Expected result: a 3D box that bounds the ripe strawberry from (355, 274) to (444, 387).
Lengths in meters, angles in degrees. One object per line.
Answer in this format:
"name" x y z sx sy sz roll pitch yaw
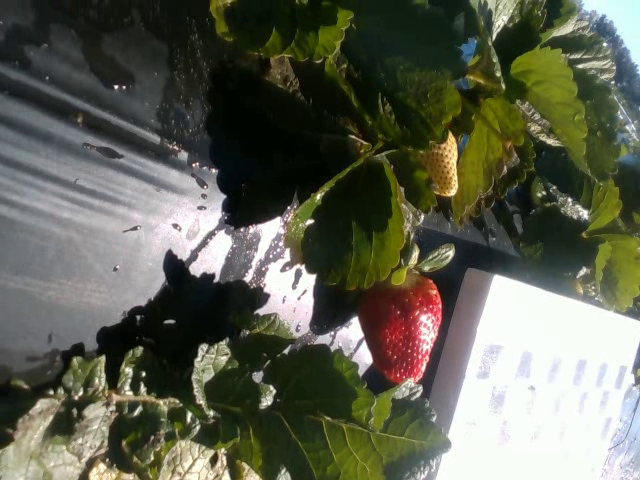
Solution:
"ripe strawberry" 0.045 0.048 0.323 0.048 0.069 0.040 -8 10 -41
